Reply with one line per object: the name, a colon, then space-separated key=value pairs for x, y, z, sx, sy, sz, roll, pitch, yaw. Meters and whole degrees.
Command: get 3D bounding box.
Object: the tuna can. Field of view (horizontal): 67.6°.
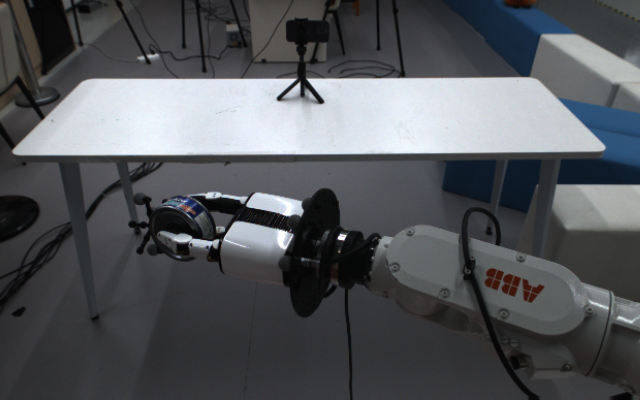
tuna can: x=-0.182 y=0.041 z=0.645 sx=0.085 sy=0.085 sz=0.034 roll=12 pitch=29 yaw=14
